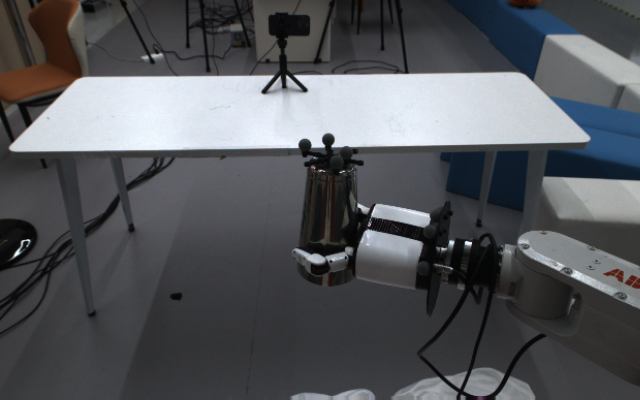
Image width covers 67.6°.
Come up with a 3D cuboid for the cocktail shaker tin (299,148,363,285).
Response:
[{"bbox_3d":[0.015,0.025,0.686,0.093,0.170,0.093,1,28,-1],"label":"cocktail shaker tin"}]
